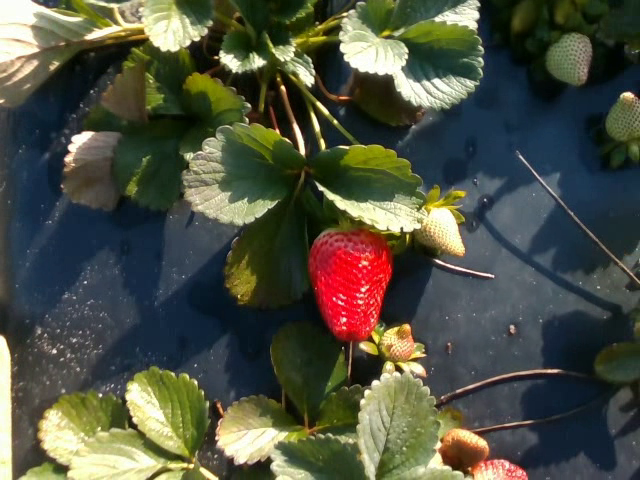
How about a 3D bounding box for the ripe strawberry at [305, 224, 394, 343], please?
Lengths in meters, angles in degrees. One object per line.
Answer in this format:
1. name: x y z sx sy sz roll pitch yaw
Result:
1. ripe strawberry: 0.017 0.026 0.347 0.055 0.072 0.057 11 -27 -40
